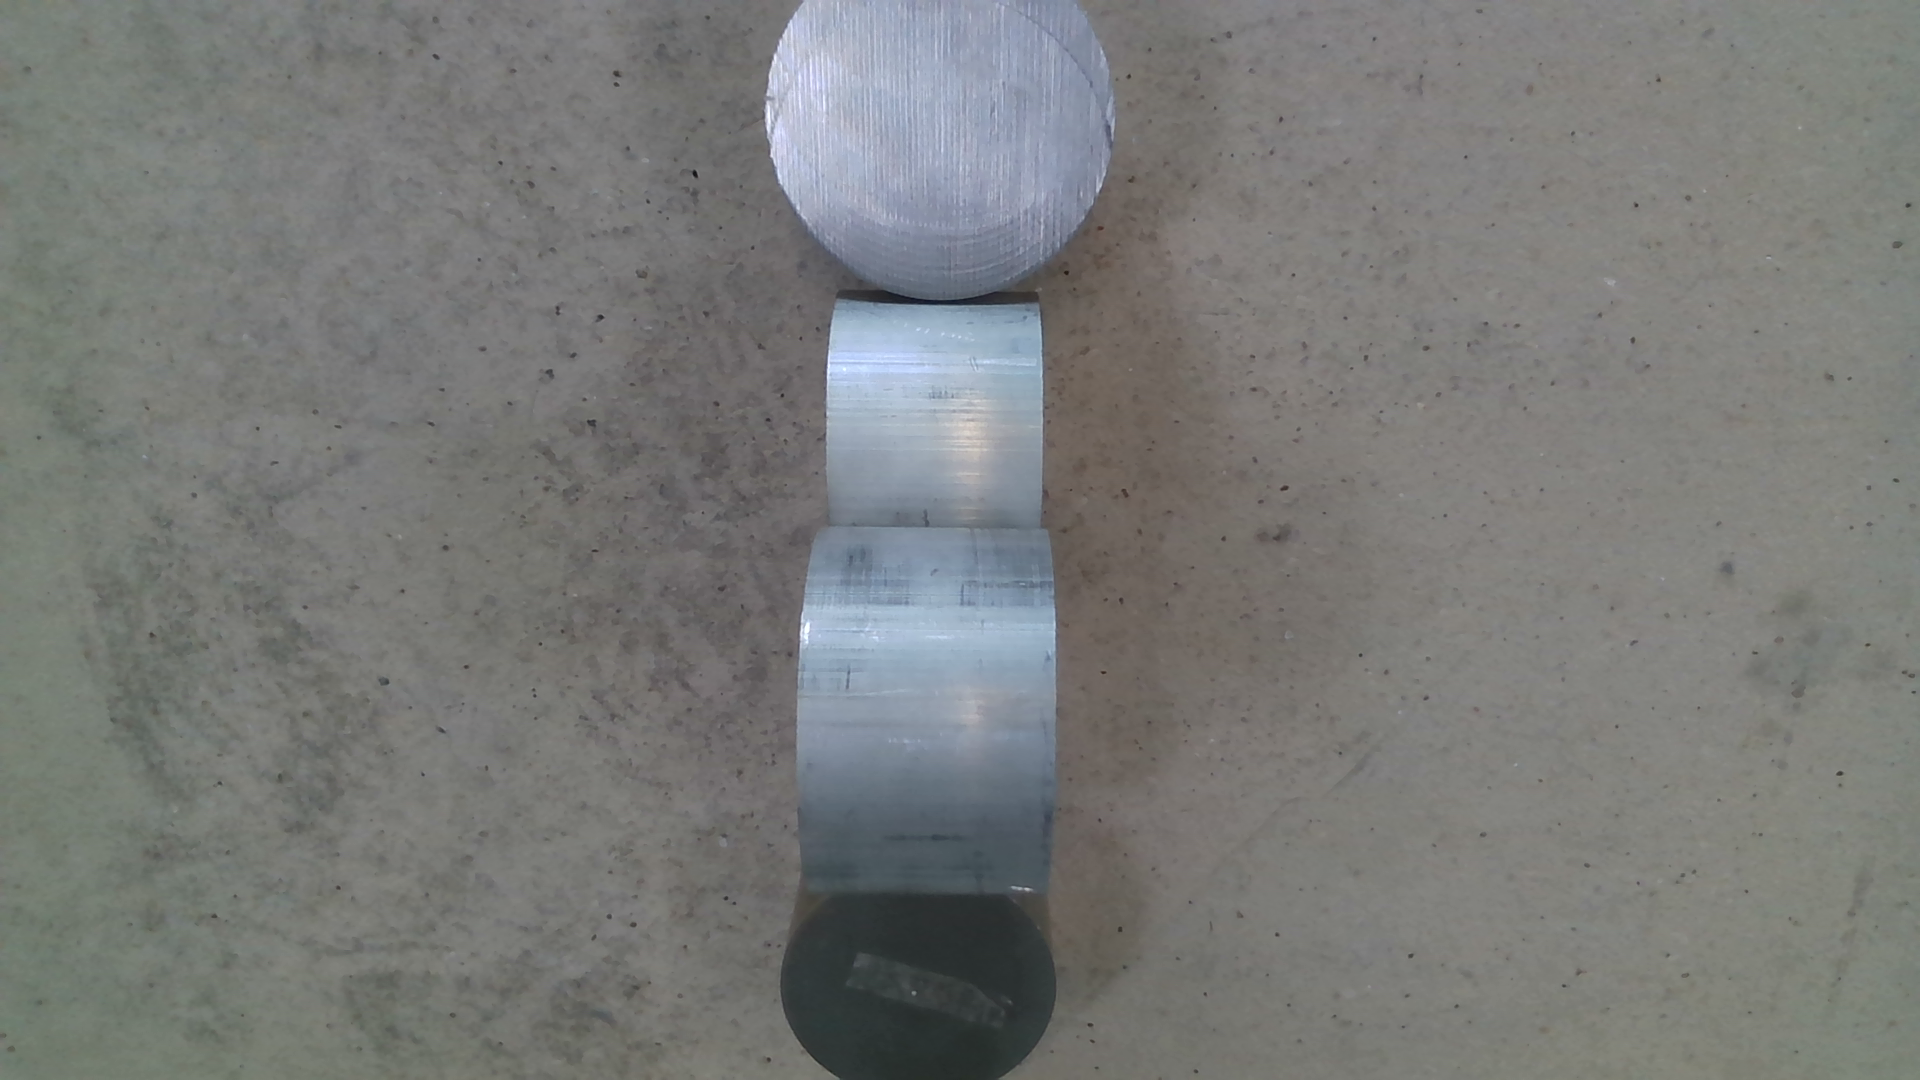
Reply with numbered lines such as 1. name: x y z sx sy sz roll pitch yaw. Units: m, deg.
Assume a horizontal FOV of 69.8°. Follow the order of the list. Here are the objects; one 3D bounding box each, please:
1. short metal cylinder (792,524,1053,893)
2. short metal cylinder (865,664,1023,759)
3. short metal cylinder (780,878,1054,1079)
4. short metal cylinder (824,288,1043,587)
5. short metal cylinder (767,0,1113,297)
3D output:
1. short metal cylinder: -0.007 0.037 0.304 0.050 0.080 0.080 1 110 1
2. short metal cylinder: -0.007 0.050 0.383 0.050 0.080 0.080 0 110 -1
3. short metal cylinder: -0.012 0.121 0.424 0.080 0.050 0.080 0 110 0
4. short metal cylinder: -0.006 -0.024 0.356 0.050 0.080 0.080 0 110 0
5. short metal cylinder: -0.005 -0.105 0.342 0.080 0.050 0.080 0 110 0
